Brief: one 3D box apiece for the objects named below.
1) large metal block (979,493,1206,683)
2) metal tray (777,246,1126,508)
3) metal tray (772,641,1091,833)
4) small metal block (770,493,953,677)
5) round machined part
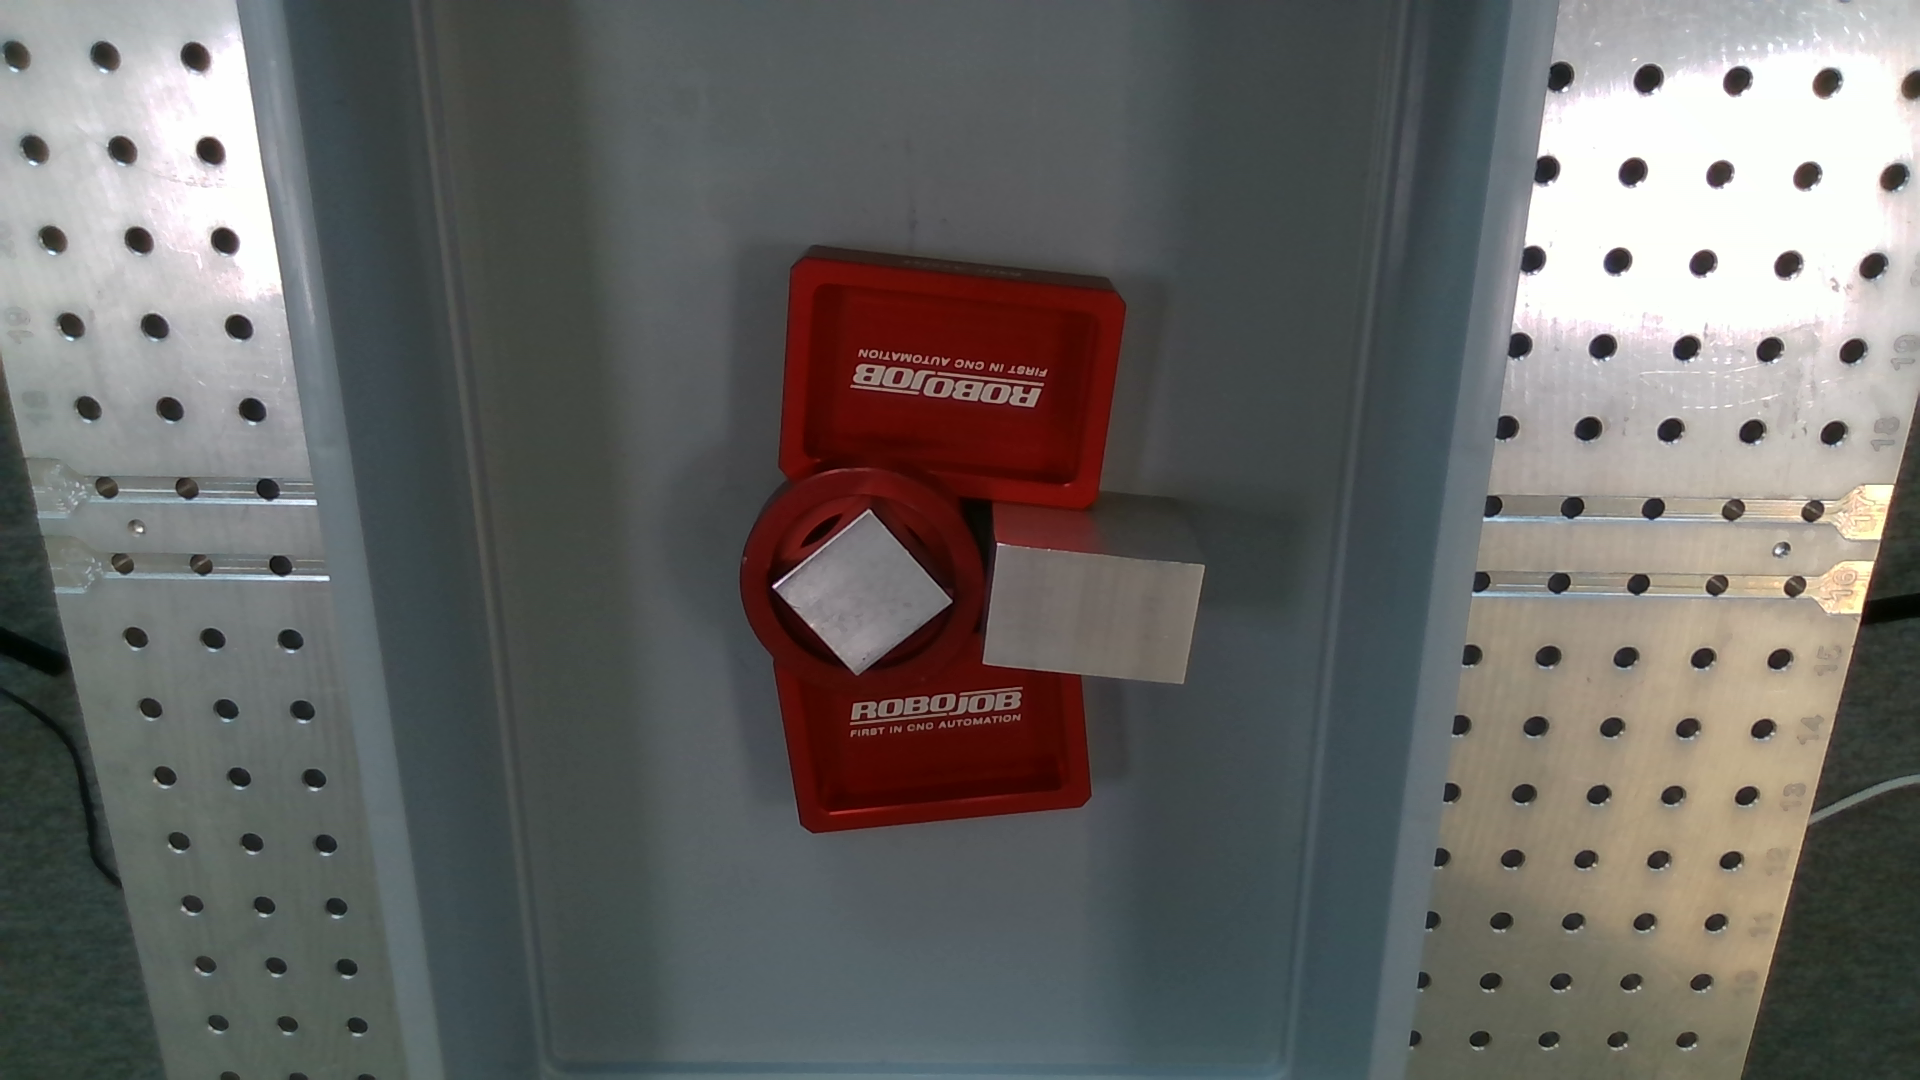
[{"bbox_3d":[0.050,0.014,0.560,0.080,0.080,0.050,6,110,-2],"label":"large metal block"},{"bbox_3d":[-0.005,-0.066,0.556,0.130,0.030,0.090,6,110,-2],"label":"metal tray"},{"bbox_3d":[-0.011,0.077,0.609,0.130,0.030,0.090,-6,110,2],"label":"metal tray"},{"bbox_3d":[-0.038,0.017,0.545,0.050,0.025,0.050,-38,106,13],"label":"small metal block"},{"bbox_3d":[-0.039,0.011,0.569,0.098,0.042,0.098,0,110,0],"label":"round machined part"}]
